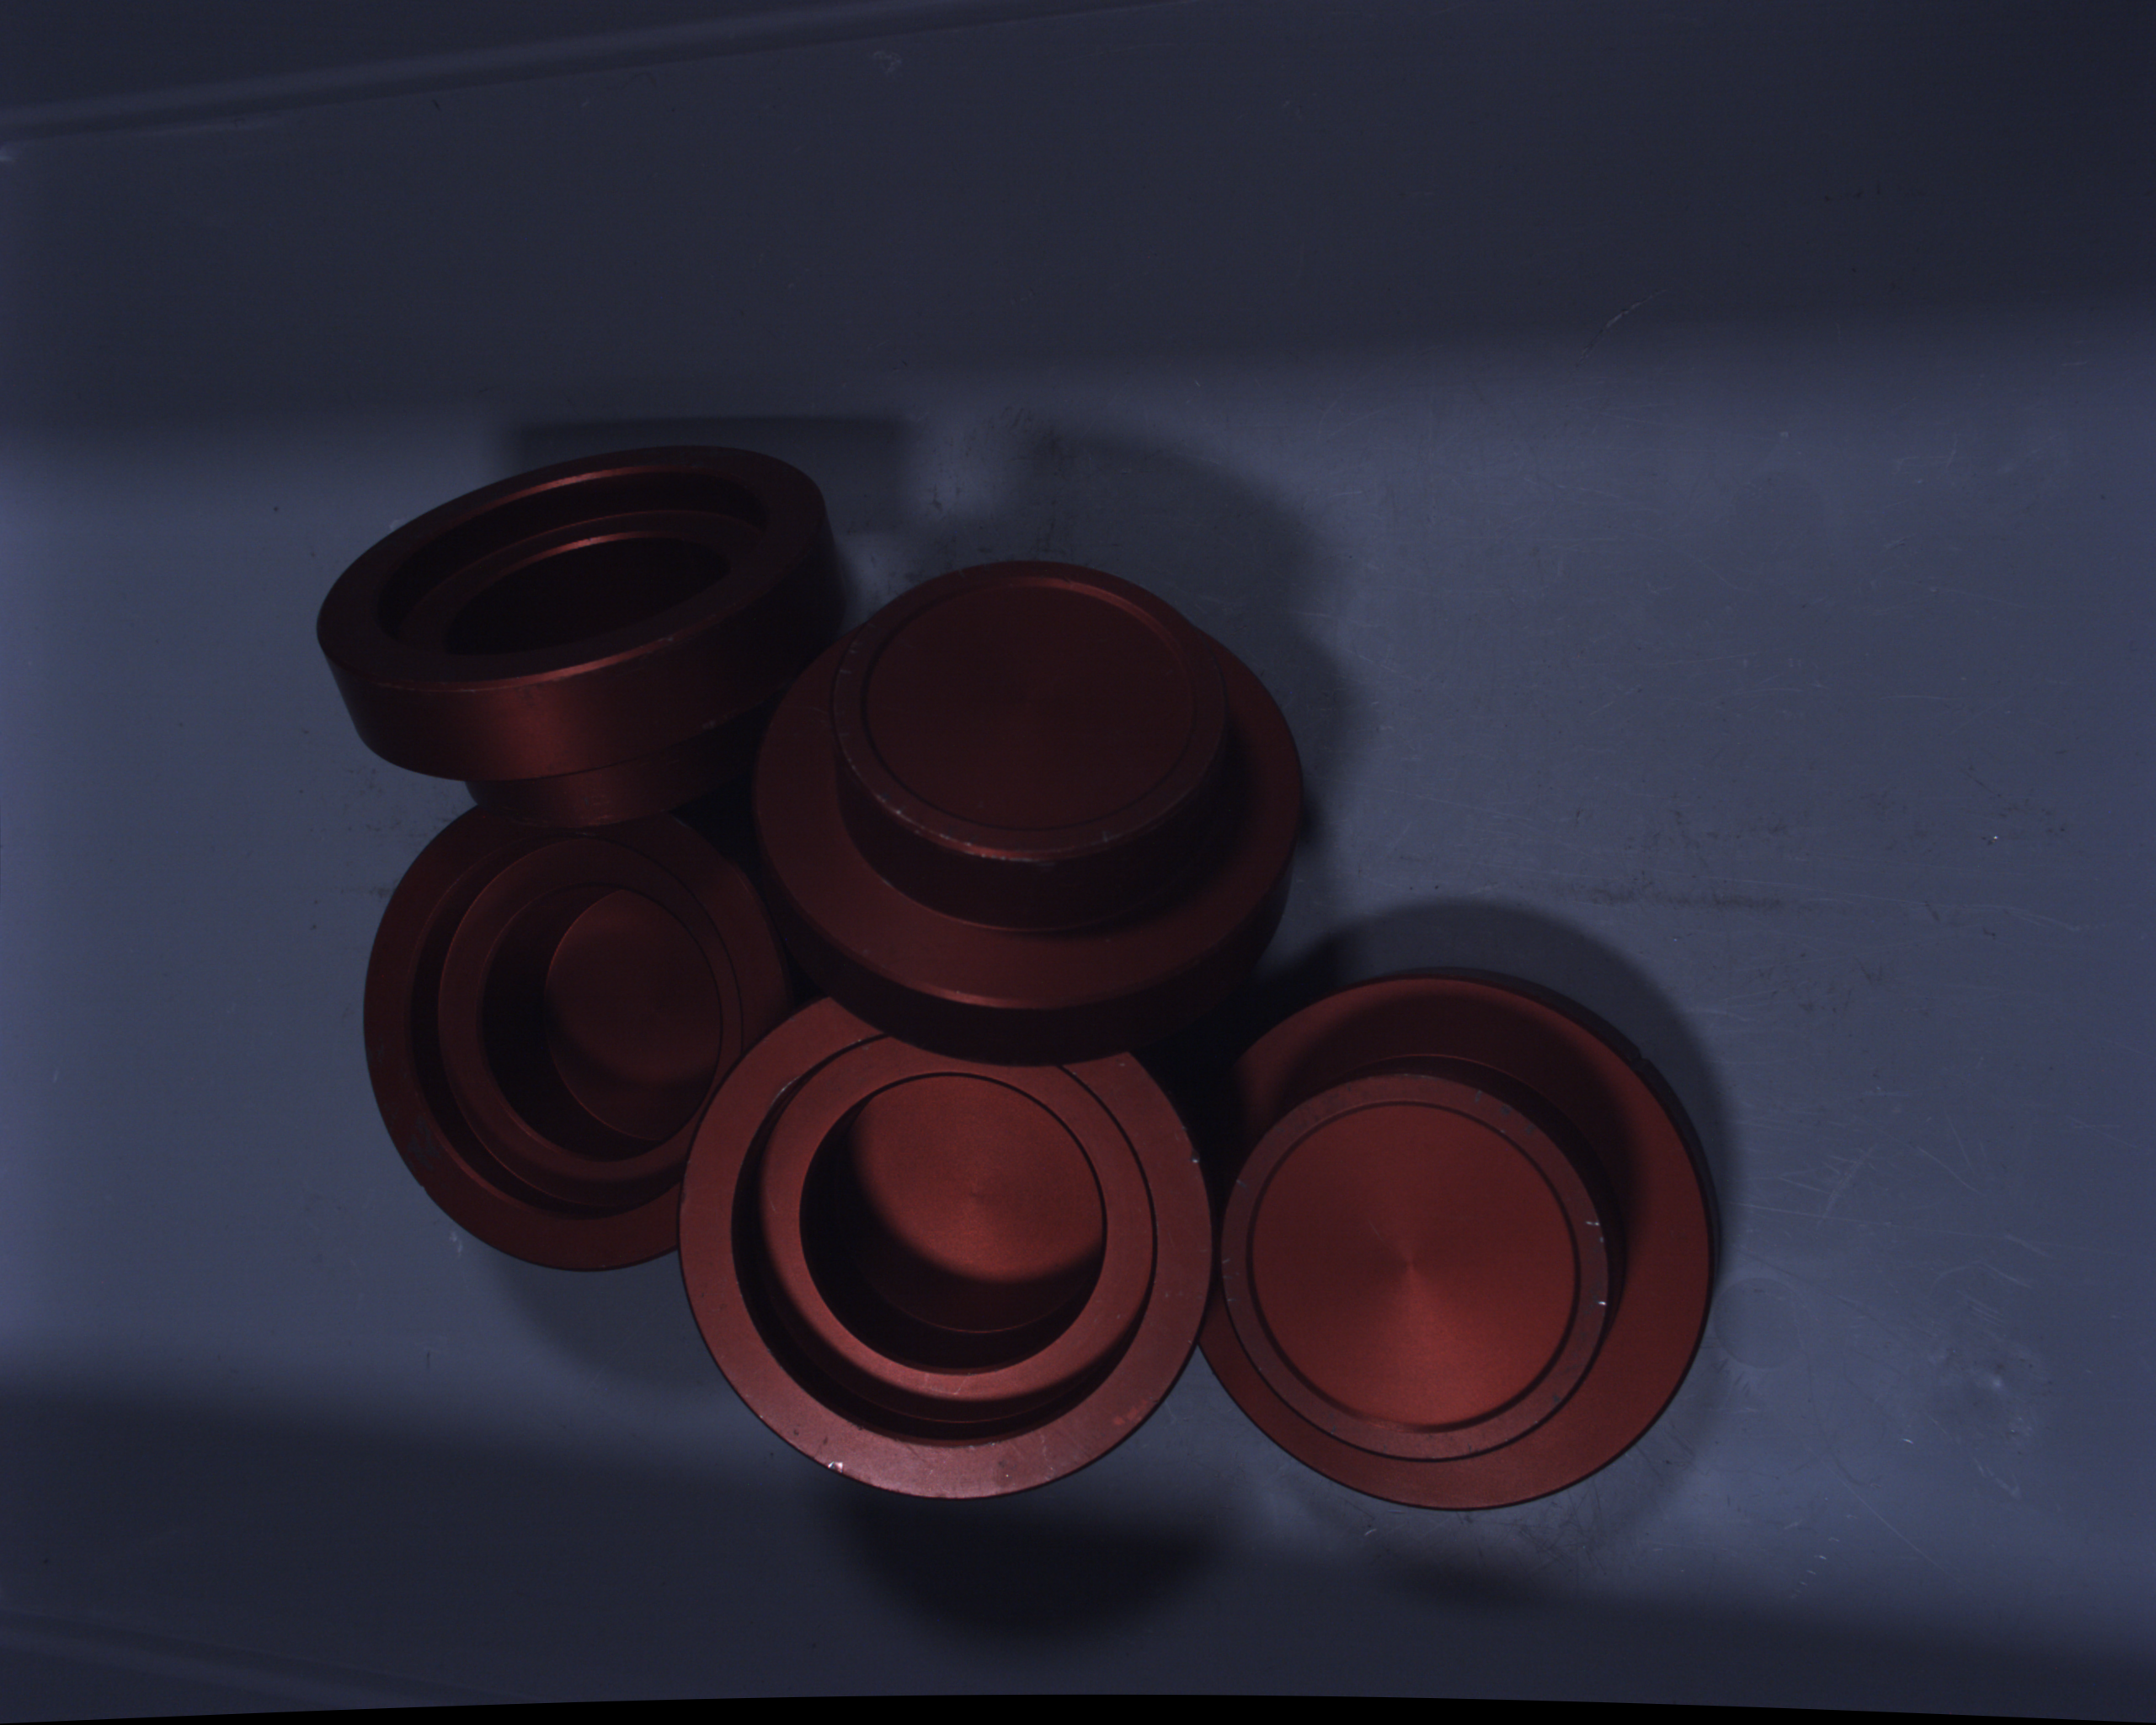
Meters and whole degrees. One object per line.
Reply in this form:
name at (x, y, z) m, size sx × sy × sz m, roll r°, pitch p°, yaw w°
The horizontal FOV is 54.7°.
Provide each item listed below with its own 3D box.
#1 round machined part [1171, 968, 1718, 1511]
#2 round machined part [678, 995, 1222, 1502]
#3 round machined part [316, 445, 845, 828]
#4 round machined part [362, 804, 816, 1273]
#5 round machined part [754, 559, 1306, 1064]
round machined part at (0.064, 0.069, 0.376) m, size 0.098 × 0.042 × 0.097 m, roll 0°, pitch 90°, yaw 19°
round machined part at (-0.021, 0.066, 0.394) m, size 0.099 × 0.042 × 0.097 m, roll 1°, pitch 96°, yaw 6°
round machined part at (-0.094, -0.043, 0.413) m, size 0.098 × 0.098 × 0.042 m, roll 3°, pitch 126°, yaw 19°
round machined part at (-0.094, 0.032, 0.431) m, size 0.098 × 0.042 × 0.097 m, roll 0°, pitch 90°, yaw 19°
round machined part at (-0.008, -0.016, 0.373) m, size 0.099 × 0.042 × 0.098 m, roll 1°, pitch 53°, yaw -1°
